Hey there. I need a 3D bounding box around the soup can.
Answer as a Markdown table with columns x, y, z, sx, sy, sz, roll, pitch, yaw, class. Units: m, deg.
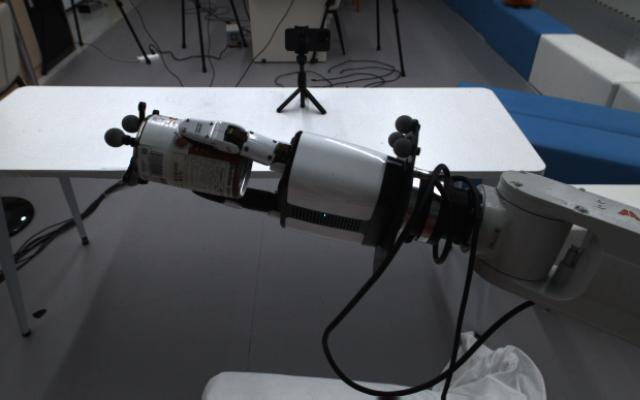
| x | y | z | sx | sy | sz | roll | pitch | yaw | class |
| --- | --- | --- | --- | --- | --- | --- | --- | --- | --- |
| -0.119 | -0.042 | 0.480 | 0.101 | 0.067 | 0.067 | 12 | 35 | -2 | soup can |
